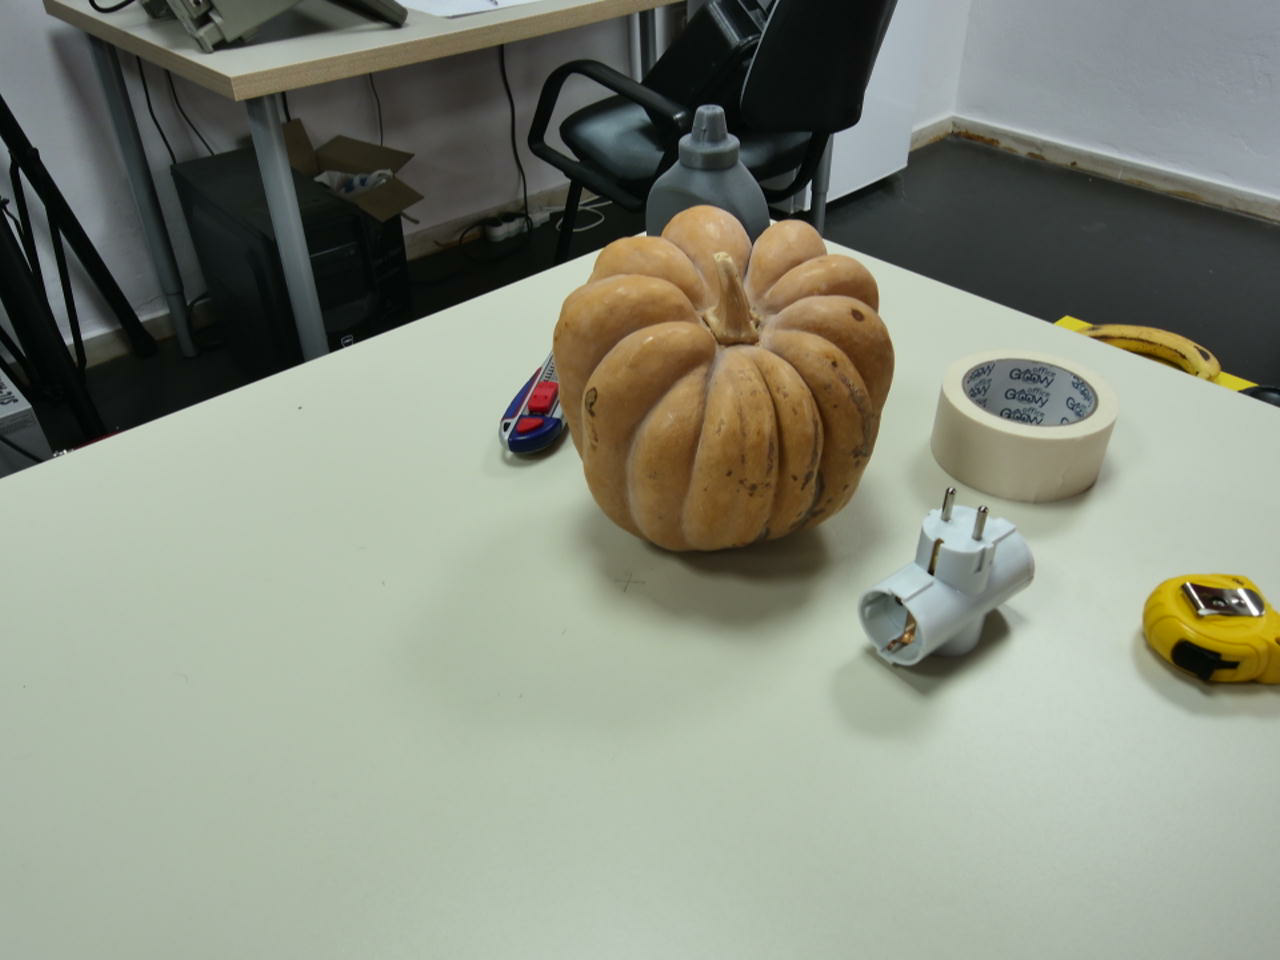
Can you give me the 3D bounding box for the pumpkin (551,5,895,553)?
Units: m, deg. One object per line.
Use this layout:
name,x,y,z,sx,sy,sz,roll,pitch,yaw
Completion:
pumpkin,0.046,-0.053,0.577,0.199,0.177,0.198,-1,36,0
